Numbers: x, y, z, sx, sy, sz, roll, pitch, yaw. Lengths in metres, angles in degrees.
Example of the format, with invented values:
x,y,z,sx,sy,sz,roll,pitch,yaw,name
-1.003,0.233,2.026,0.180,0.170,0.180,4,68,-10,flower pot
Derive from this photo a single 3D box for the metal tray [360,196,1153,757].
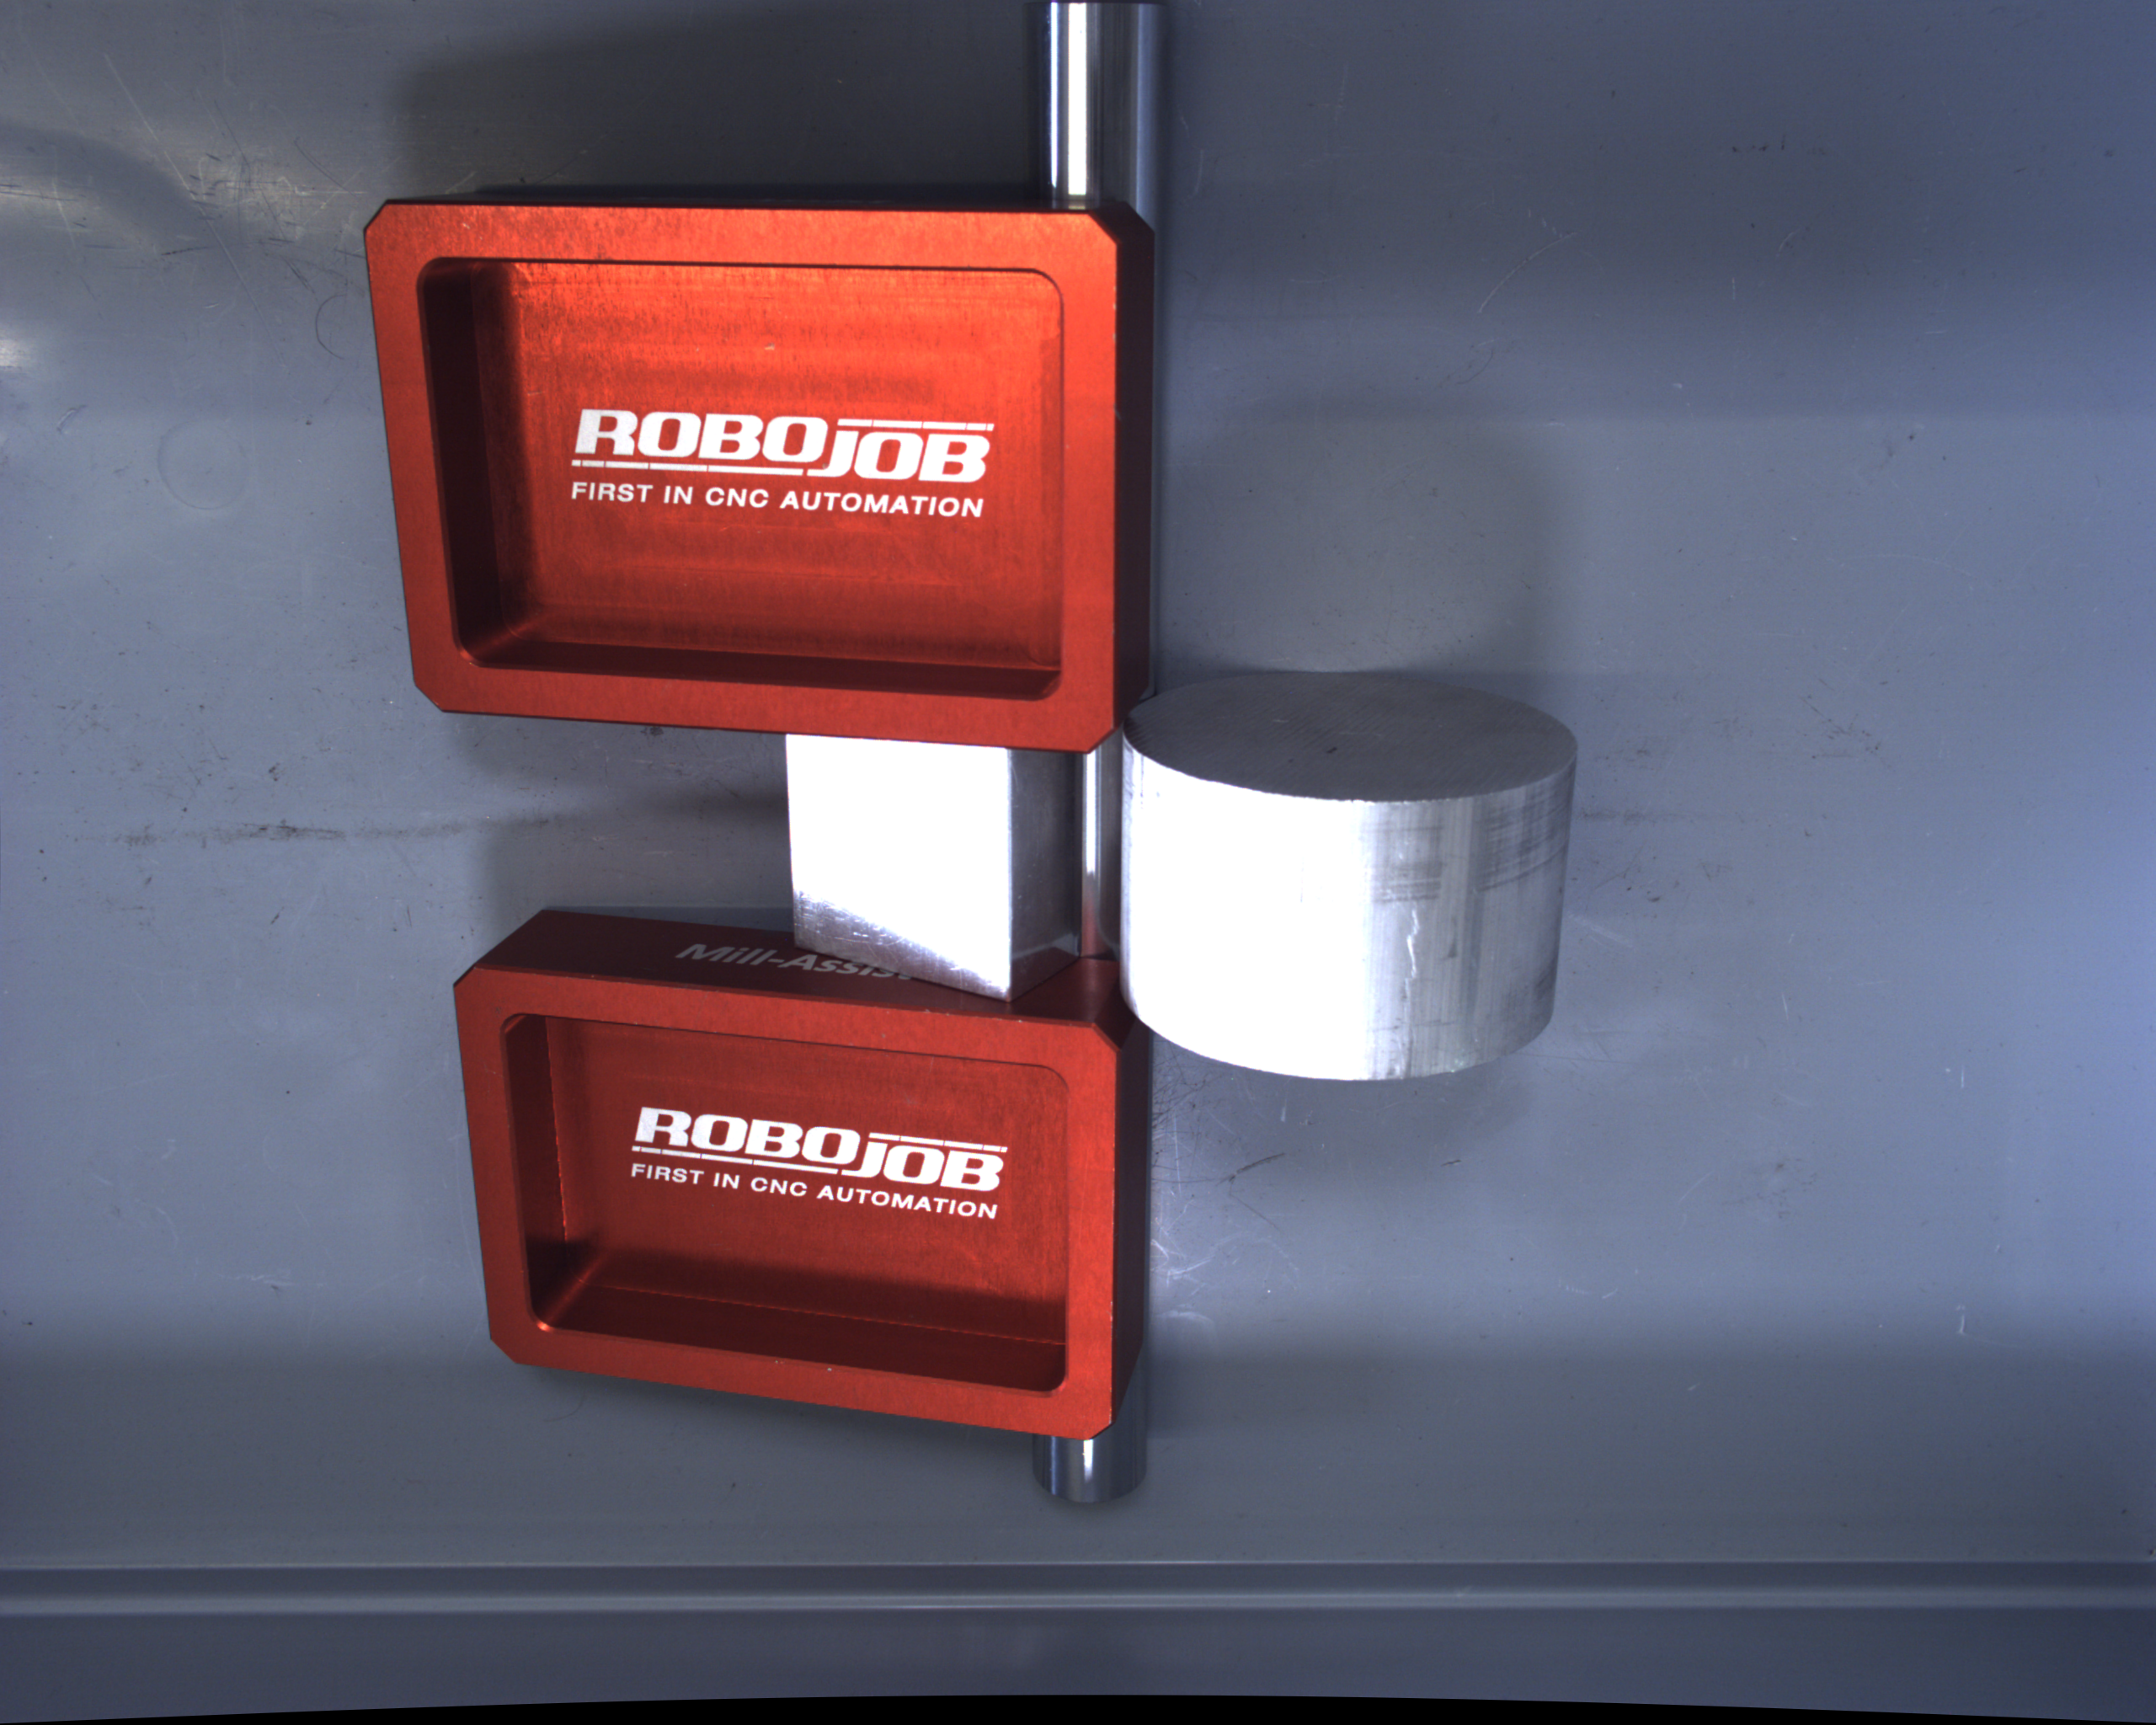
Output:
x,y,z,sx,sy,sz,roll,pitch,yaw,name
-0.054,-0.069,0.366,0.131,0.030,0.089,4,111,11,metal tray

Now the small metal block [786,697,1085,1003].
x,y,z,sx,sy,sz,roll,pitch,yaw,name
-0.027,-0.006,0.396,0.050,0.025,0.050,13,113,29,small metal block

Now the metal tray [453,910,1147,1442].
x,y,z,sx,sy,sz,roll,pitch,yaw,name
-0.053,0.061,0.414,0.131,0.030,0.089,5,111,11,metal tray

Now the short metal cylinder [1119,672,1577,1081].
x,y,z,sx,sy,sz,roll,pitch,yaw,name
0.048,0.000,0.381,0.081,0.080,0.050,0,110,0,short metal cylinder

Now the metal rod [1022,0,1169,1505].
x,y,z,sx,sy,sz,roll,pitch,yaw,name
0.002,-0.007,0.406,0.025,0.025,0.298,0,110,0,metal rod
